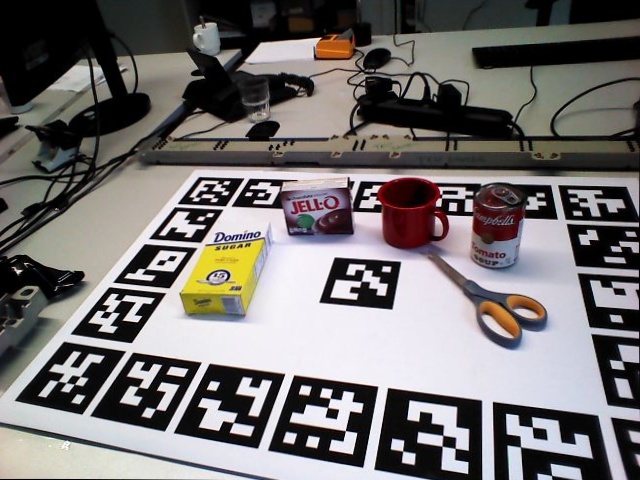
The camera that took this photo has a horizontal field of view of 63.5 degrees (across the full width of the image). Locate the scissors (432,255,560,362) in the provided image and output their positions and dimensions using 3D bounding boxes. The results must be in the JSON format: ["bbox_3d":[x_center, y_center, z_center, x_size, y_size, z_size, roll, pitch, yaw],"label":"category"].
[{"bbox_3d":[0.214,0.071,0.676,0.087,0.016,0.203,-32,43,-11],"label":"scissors"}]

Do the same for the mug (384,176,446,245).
[{"bbox_3d":[0.153,-0.041,0.782,0.093,0.081,0.117,-22,38,-11],"label":"mug"}]

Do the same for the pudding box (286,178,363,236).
[{"bbox_3d":[0.008,-0.053,0.819,0.114,0.090,0.038,-3,45,9],"label":"pudding box"}]

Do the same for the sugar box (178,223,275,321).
[{"bbox_3d":[-0.134,0.044,0.778,0.093,0.045,0.175,-1,40,15],"label":"sugar box"}]

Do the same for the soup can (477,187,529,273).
[{"bbox_3d":[0.255,-0.013,0.719,0.068,0.102,0.067,-7,36,5],"label":"soup can"}]
